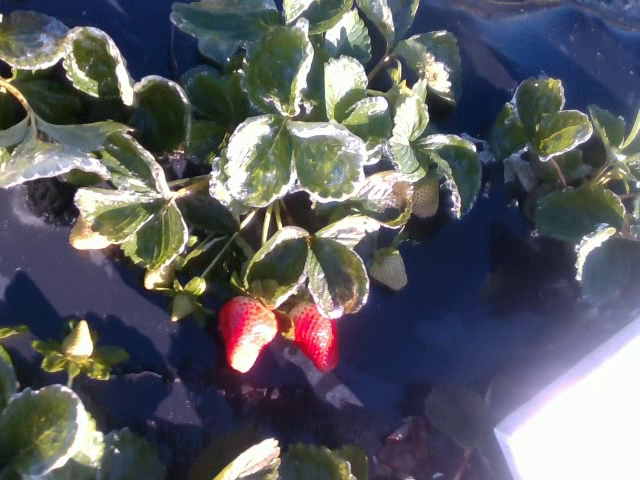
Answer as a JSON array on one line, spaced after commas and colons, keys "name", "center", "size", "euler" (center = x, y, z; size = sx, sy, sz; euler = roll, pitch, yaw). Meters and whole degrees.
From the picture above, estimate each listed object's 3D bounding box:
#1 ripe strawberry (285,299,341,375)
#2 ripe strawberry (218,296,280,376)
[{"name": "ripe strawberry", "center": [-0.003, 0.078, 0.474], "size": [0.043, 0.059, 0.040], "euler": [-29, 10, -15]}, {"name": "ripe strawberry", "center": [-0.057, 0.080, 0.465], "size": [0.052, 0.070, 0.040], "euler": [20, -8, -28]}]
